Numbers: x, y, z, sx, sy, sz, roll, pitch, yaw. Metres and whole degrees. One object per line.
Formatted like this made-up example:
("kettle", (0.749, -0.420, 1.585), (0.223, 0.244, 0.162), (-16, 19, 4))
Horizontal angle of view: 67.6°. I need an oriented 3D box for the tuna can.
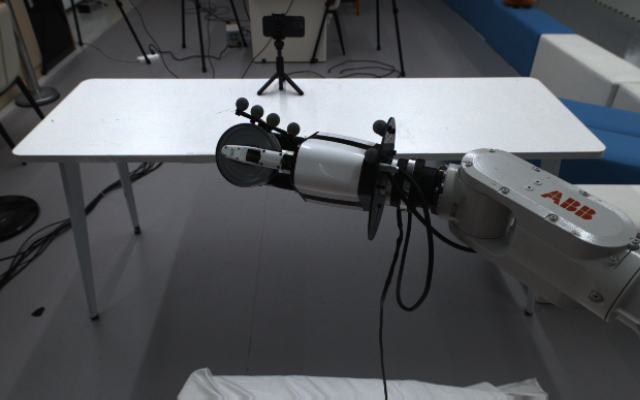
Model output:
("tuna can", (-0.095, -0.059, 0.658), (0.085, 0.085, 0.034), (10, 4, 11))
